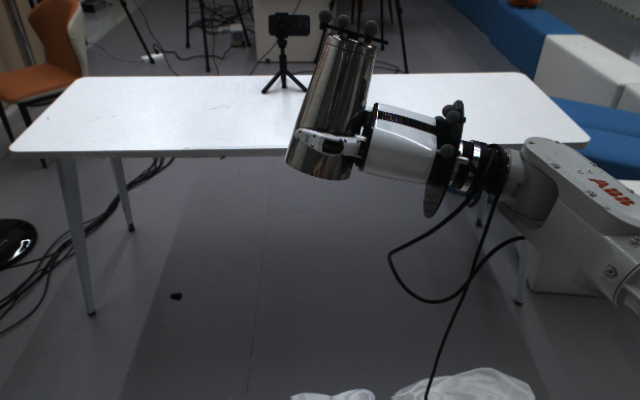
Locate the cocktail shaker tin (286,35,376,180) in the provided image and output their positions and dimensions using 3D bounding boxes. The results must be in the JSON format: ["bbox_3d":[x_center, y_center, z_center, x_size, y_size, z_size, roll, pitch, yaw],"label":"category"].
[{"bbox_3d":[0.019,-0.122,0.630,0.093,0.170,0.093,14,20,-5],"label":"cocktail shaker tin"}]
